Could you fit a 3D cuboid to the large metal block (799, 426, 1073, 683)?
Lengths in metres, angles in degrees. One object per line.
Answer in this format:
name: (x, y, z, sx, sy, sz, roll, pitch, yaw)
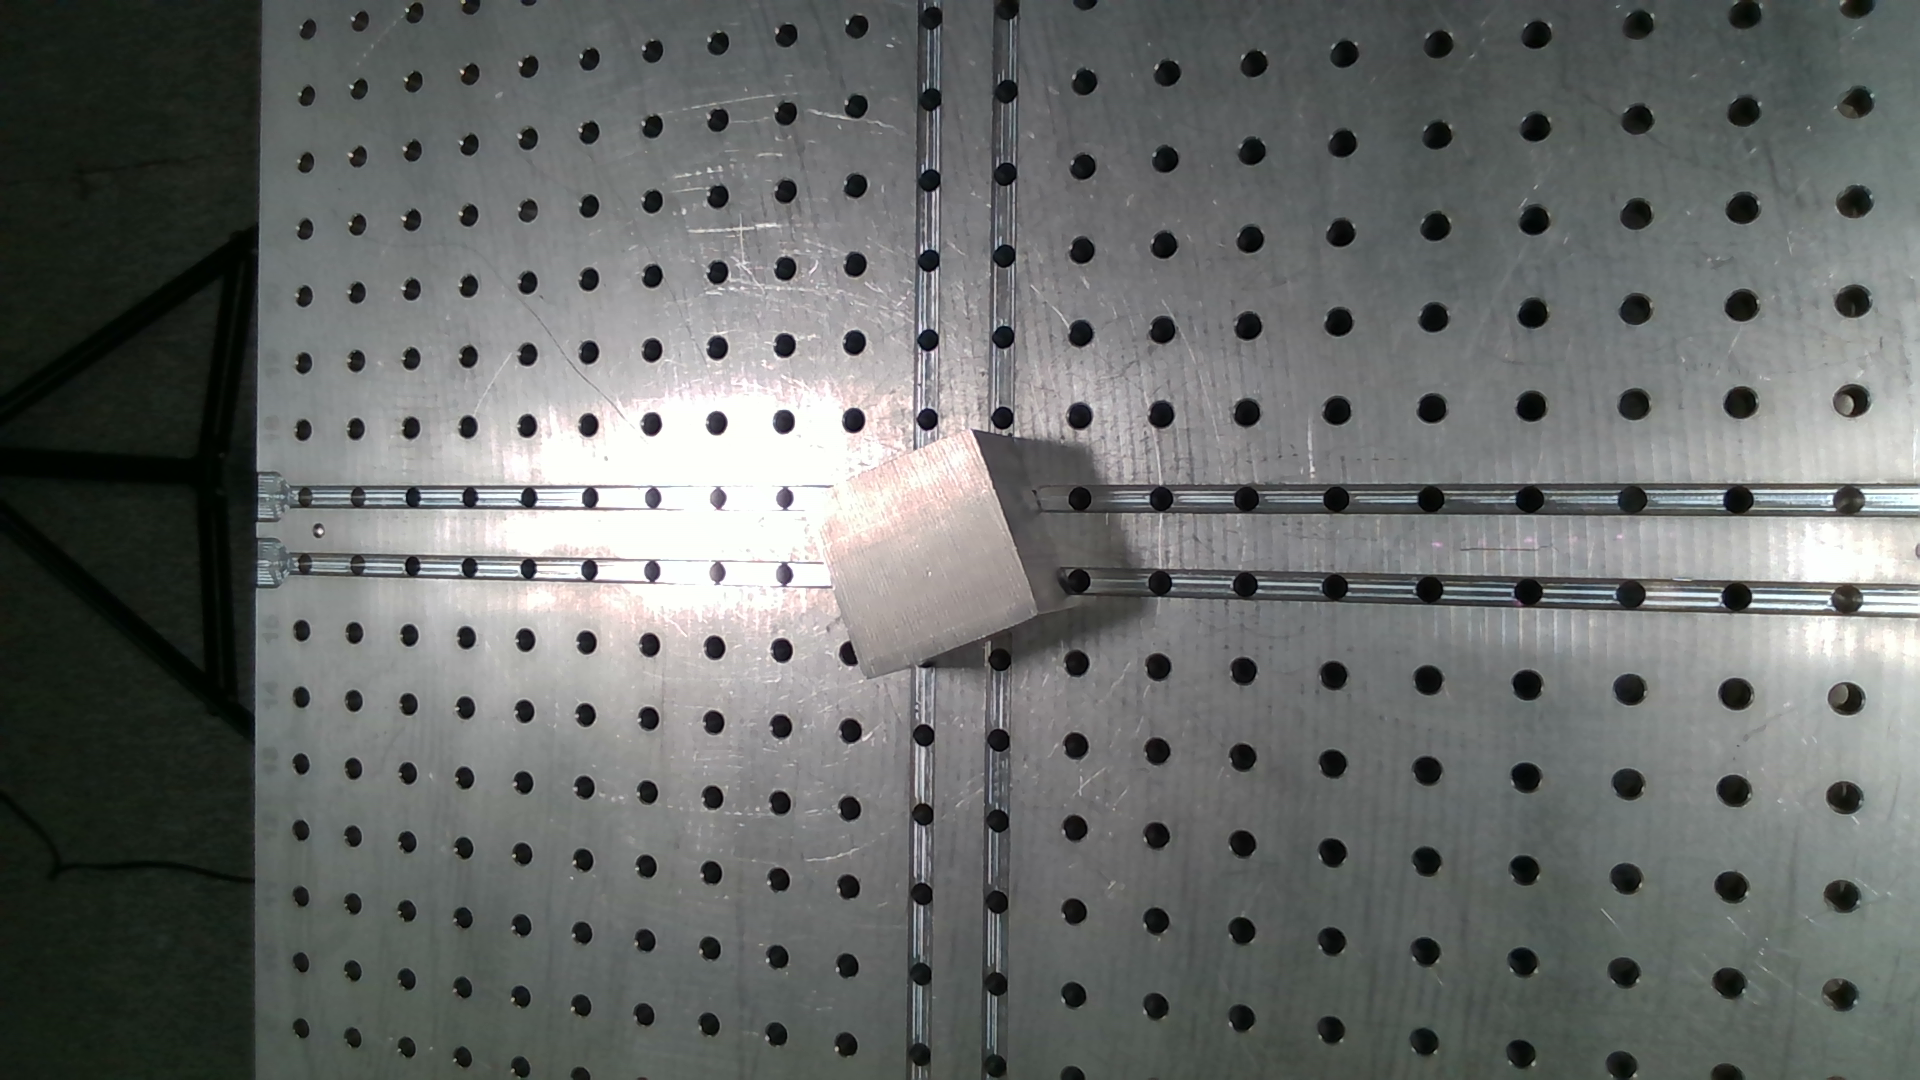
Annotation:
large metal block: (-0.009, 0.007, 0.575, 0.080, 0.050, 0.080, -22, 83, 19)
